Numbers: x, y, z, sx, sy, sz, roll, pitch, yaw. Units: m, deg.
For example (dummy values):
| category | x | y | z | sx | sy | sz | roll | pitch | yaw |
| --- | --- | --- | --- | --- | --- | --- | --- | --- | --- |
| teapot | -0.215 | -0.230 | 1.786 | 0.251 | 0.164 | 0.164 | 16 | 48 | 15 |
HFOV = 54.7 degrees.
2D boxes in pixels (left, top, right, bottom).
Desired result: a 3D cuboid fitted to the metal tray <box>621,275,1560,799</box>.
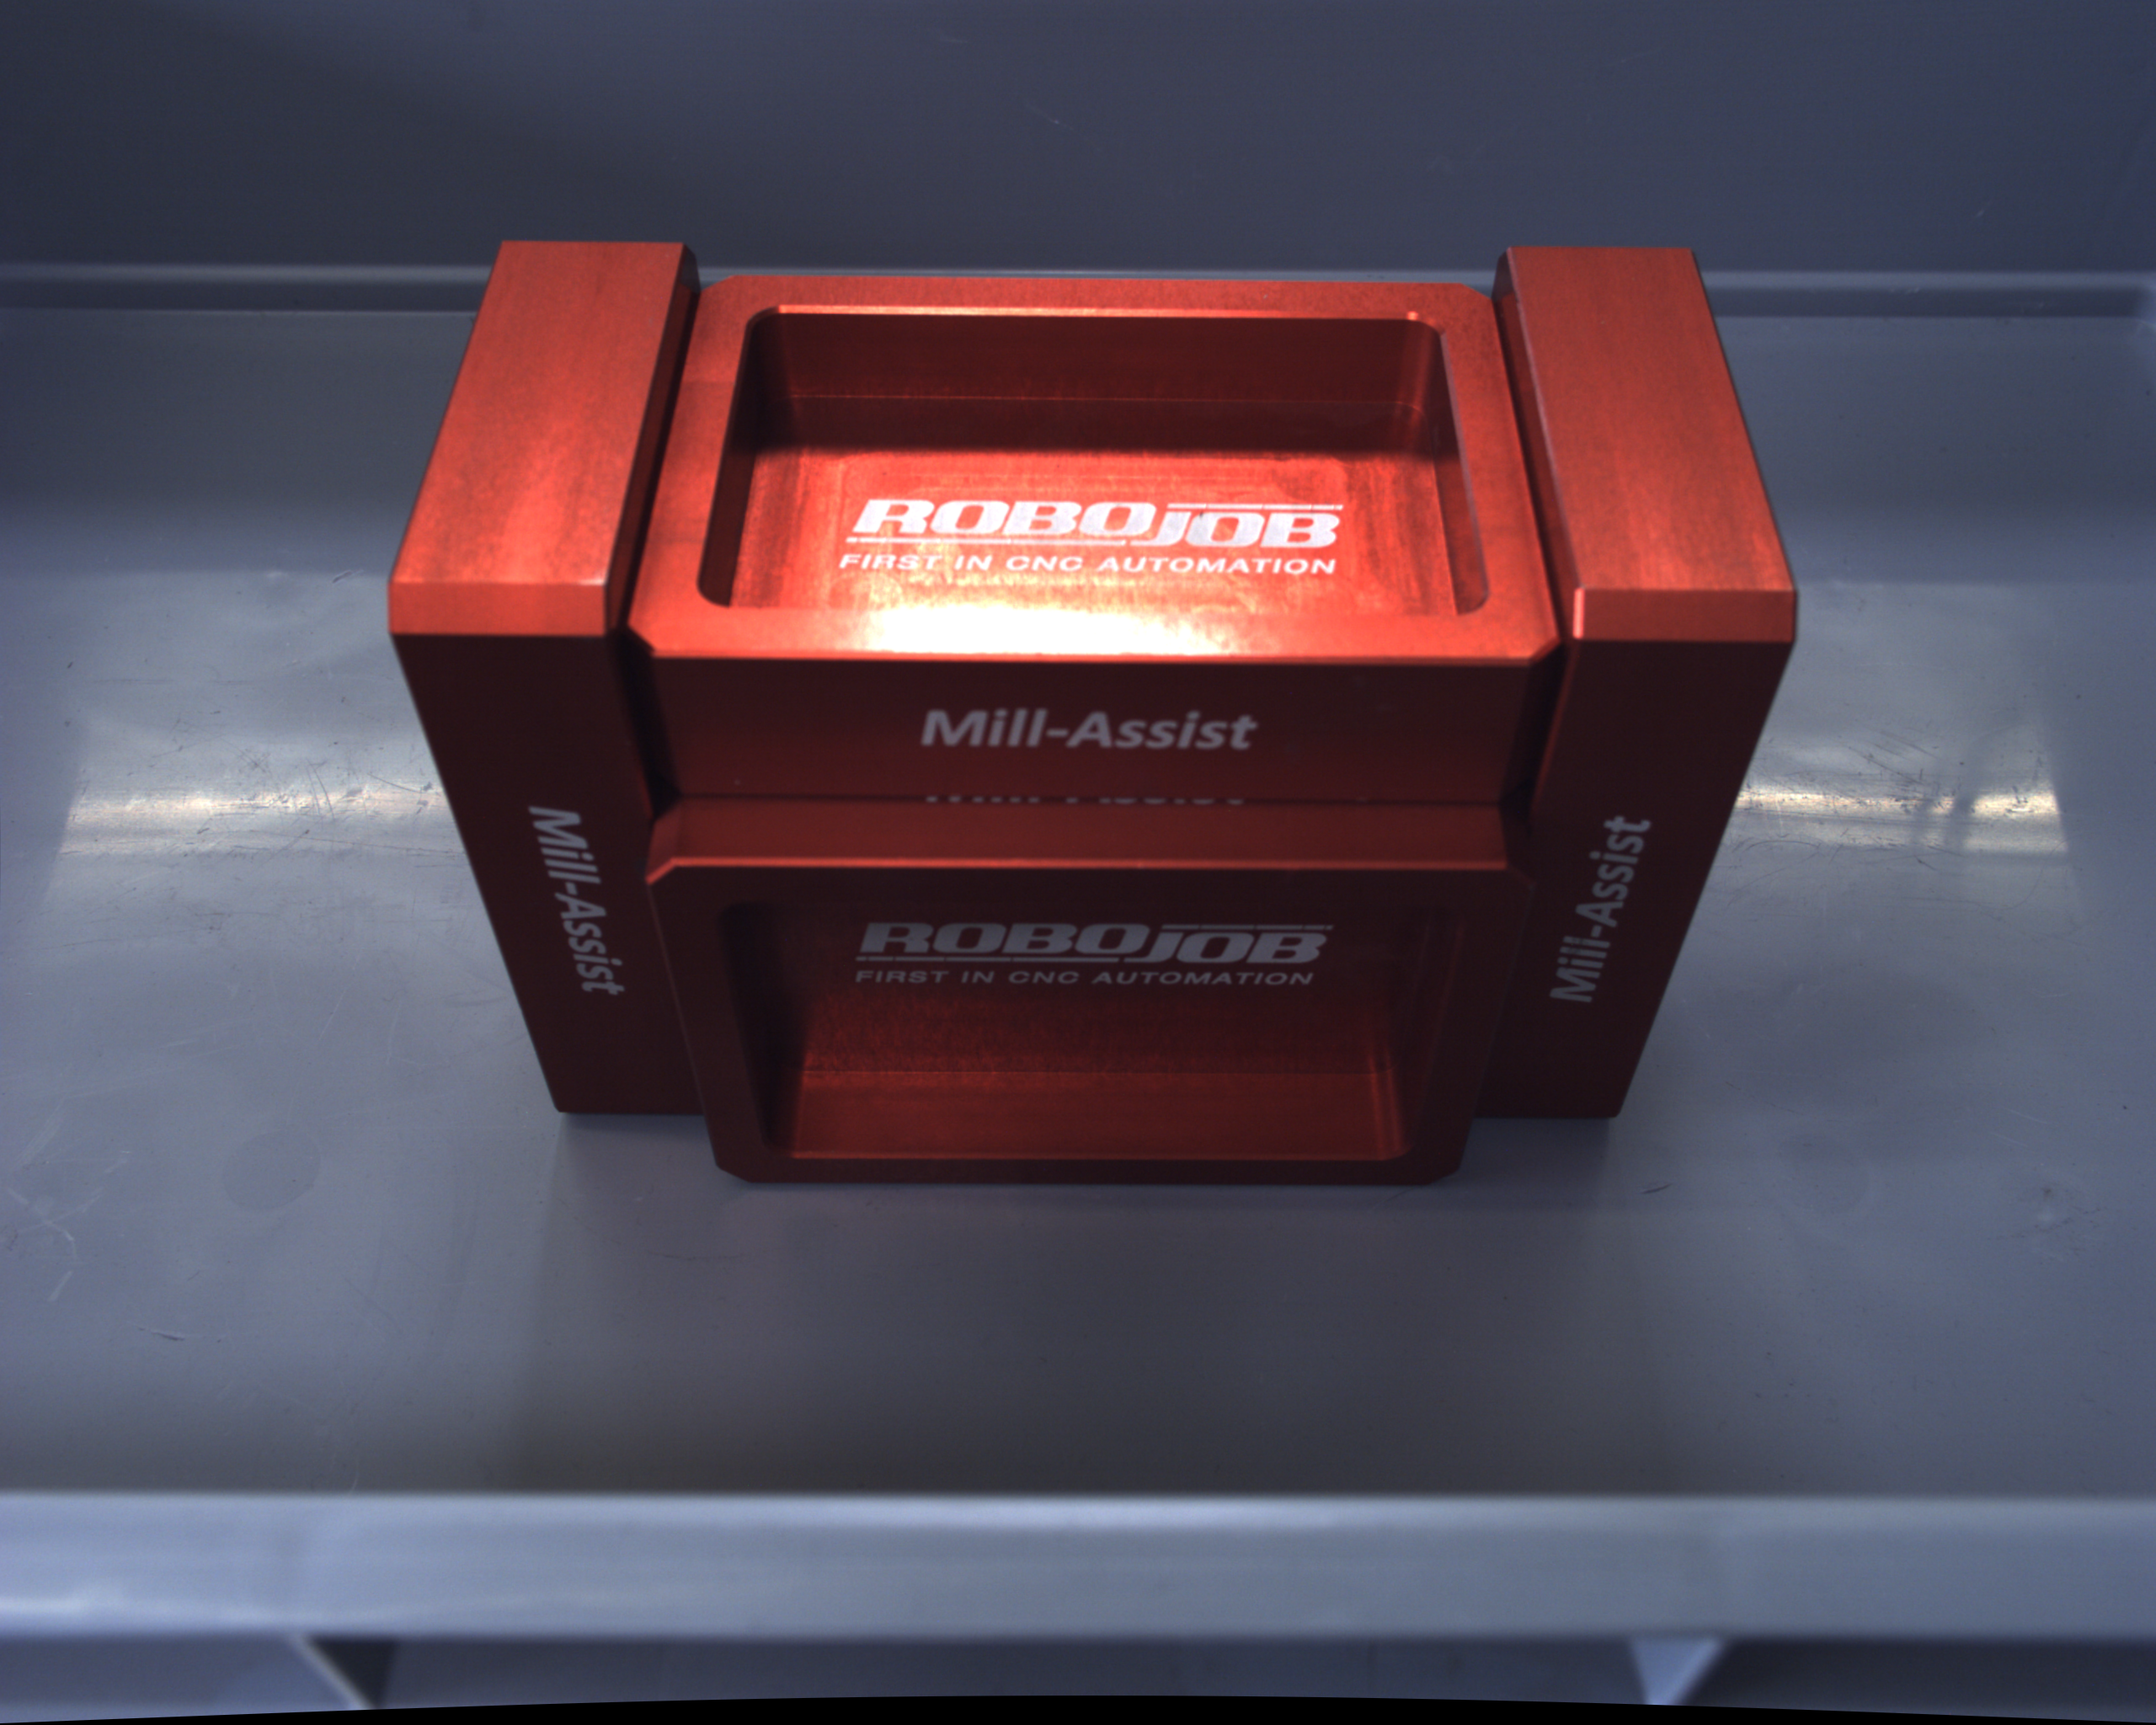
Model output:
| category | x | y | z | sx | sy | sz | roll | pitch | yaw |
| --- | --- | --- | --- | --- | --- | --- | --- | --- | --- |
| metal tray | 0.002 | -0.053 | 0.327 | 0.131 | 0.030 | 0.090 | 1 | 50 | 0 |

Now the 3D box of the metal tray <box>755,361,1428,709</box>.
| category | x | y | z | sx | sy | sz | roll | pitch | yaw |
| --- | --- | --- | --- | --- | --- | --- | --- | --- | --- |
| metal tray | 0.003 | -0.052 | 0.402 | 0.131 | 0.090 | 0.030 | 0 | 51 | 0 |

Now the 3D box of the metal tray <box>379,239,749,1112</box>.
| category | x | y | z | sx | sy | sz | roll | pitch | yaw |
| --- | --- | --- | --- | --- | --- | --- | --- | --- | --- |
| metal tray | -0.079 | -0.028 | 0.357 | 0.030 | 0.129 | 0.090 | 0 | 51 | 0 |

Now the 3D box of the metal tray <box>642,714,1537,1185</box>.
| category | x | y | z | sx | sy | sz | roll | pitch | yaw |
| --- | --- | --- | --- | --- | --- | --- | --- | --- | --- |
| metal tray | 0.002 | 0.017 | 0.344 | 0.131 | 0.089 | 0.030 | 0 | 50 | 0 |

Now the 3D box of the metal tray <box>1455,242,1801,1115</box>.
| category | x | y | z | sx | sy | sz | roll | pitch | yaw |
| --- | --- | --- | --- | --- | --- | --- | --- | --- | --- |
| metal tray | 0.084 | -0.027 | 0.357 | 0.030 | 0.129 | 0.090 | 1 | 51 | 1 |
